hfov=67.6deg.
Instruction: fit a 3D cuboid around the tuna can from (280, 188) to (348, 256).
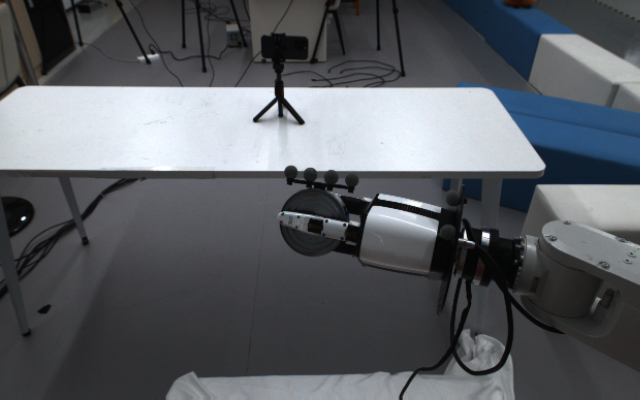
[{"bbox_3d":[-0.005,0.026,0.614,0.085,0.085,0.034,11,2,13],"label":"tuna can"}]
